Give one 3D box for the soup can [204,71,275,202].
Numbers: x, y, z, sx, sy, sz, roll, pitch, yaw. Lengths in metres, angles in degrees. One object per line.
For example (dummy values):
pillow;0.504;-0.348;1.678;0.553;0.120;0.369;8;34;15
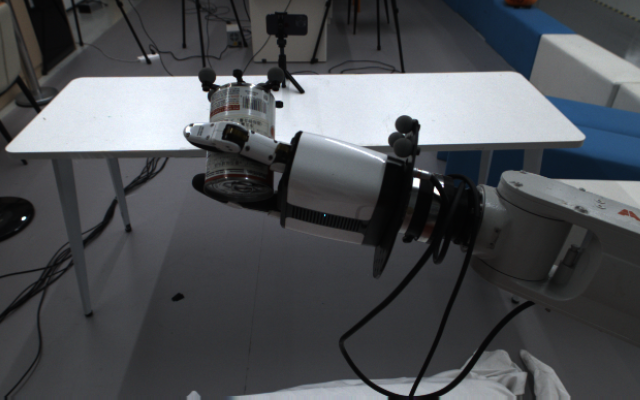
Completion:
soup can;-0.077;-0.054;0.481;0.067;0.067;0.101;1;72;-2
